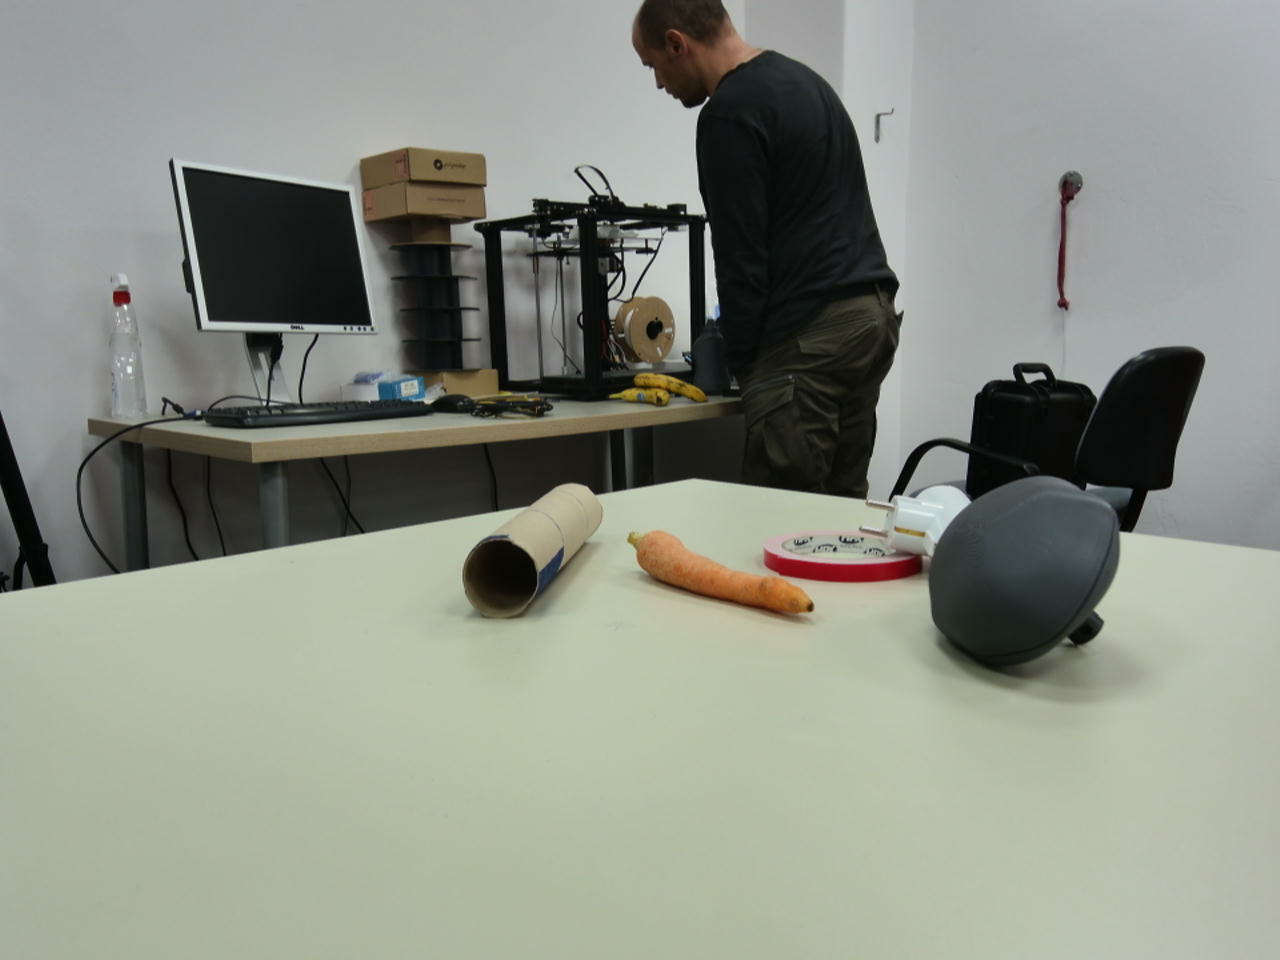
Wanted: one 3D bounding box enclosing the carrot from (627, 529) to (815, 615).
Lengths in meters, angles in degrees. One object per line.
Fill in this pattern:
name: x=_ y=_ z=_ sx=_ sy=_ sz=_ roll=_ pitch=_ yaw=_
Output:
carrot: x=0.046 y=0.057 z=0.630 sx=0.030 sy=0.032 sz=0.173 roll=-4 pitch=8 yaw=-34
